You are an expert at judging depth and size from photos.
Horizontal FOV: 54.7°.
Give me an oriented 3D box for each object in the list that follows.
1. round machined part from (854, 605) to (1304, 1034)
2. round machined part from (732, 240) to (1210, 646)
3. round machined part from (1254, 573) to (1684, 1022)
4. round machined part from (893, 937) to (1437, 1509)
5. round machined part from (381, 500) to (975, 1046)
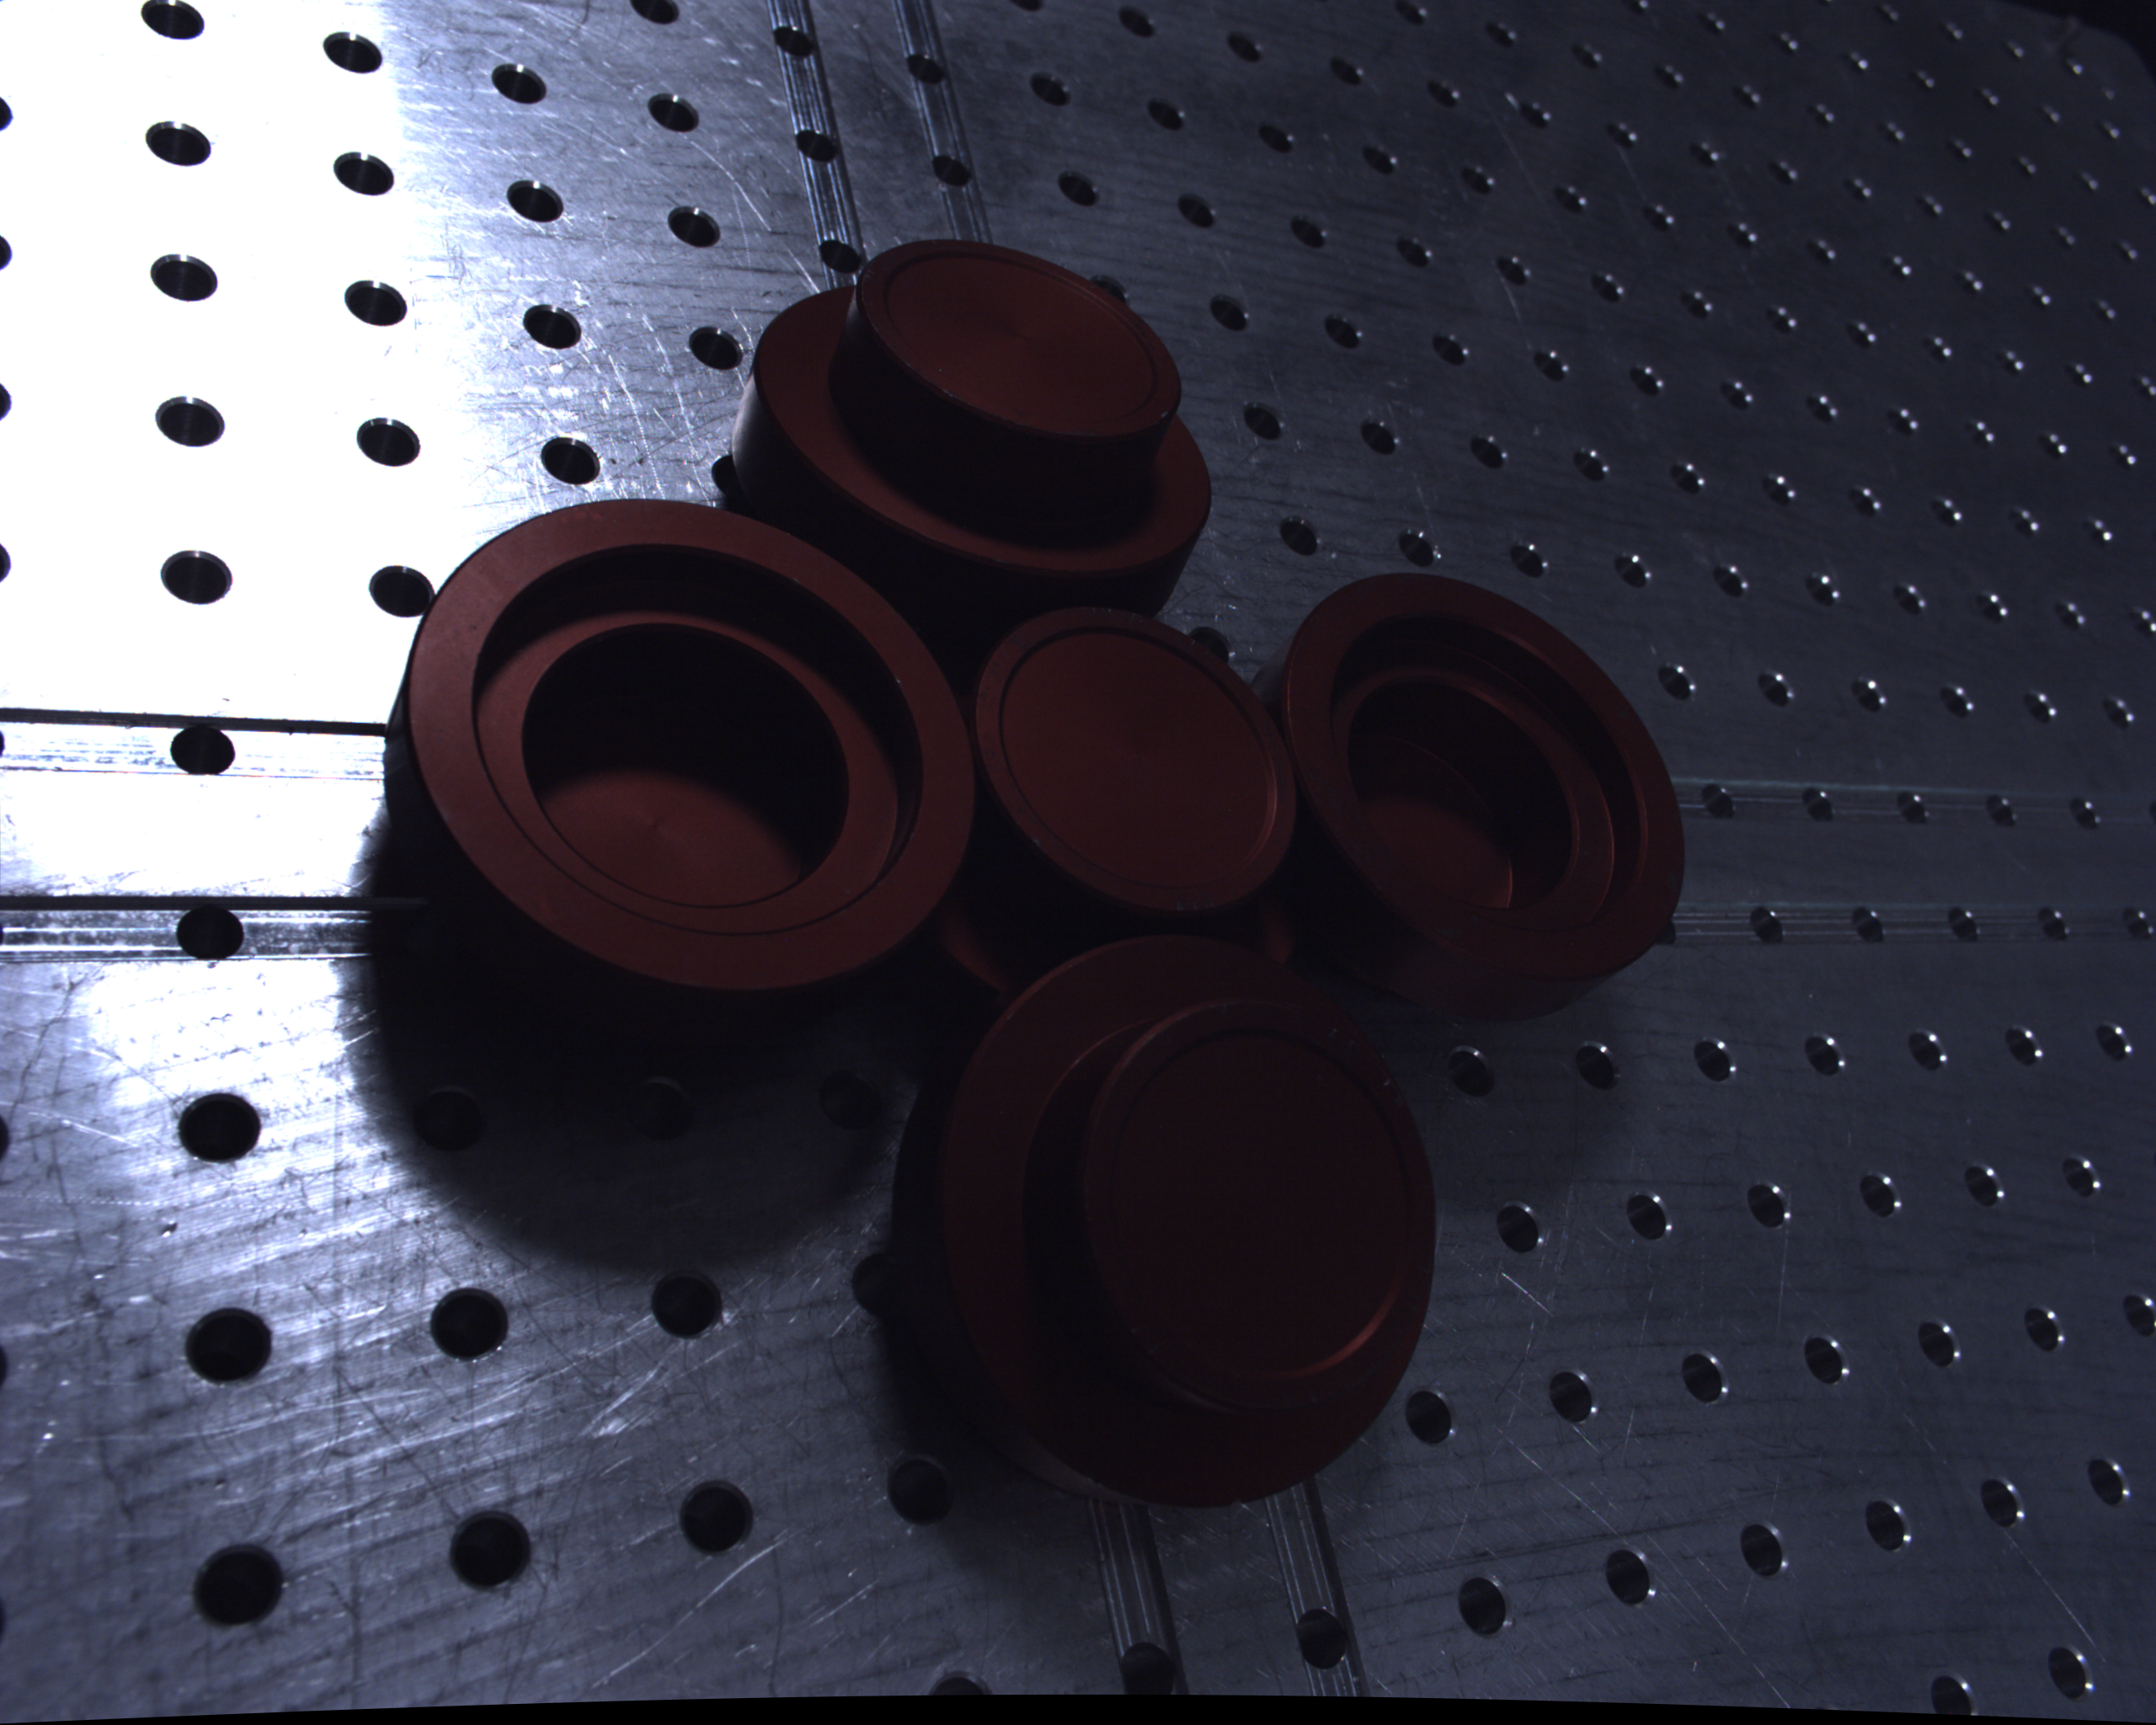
[{"bbox_3d":[0.003,-0.011,0.405,0.099,0.042,0.098,14,56,-21],"label":"round machined part"},{"bbox_3d":[-0.018,-0.091,0.430,0.099,0.042,0.098,14,43,-13],"label":"round machined part"},{"bbox_3d":[0.077,-0.010,0.446,0.099,0.042,0.098,14,56,-21],"label":"round machined part"},{"bbox_3d":[0.022,0.060,0.359,0.099,0.042,0.098,8,73,-27],"label":"round machined part"},{"bbox_3d":[-0.072,-0.012,0.367,0.099,0.042,0.098,14,56,-21],"label":"round machined part"}]
